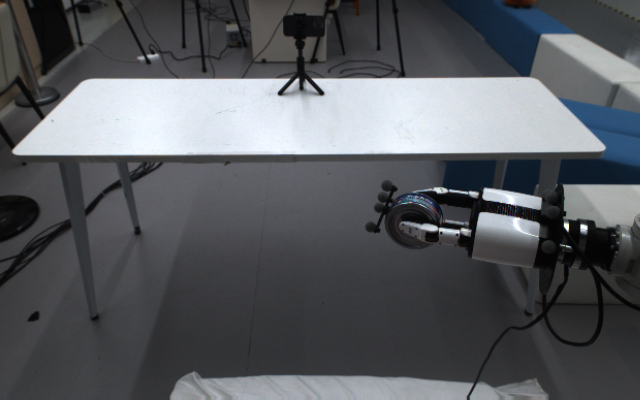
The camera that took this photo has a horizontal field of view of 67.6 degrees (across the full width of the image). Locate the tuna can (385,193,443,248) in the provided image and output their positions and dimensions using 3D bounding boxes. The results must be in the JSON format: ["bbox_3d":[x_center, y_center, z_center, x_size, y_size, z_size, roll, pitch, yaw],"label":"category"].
[{"bbox_3d":[0.147,0.032,0.745,0.085,0.085,0.034,12,29,14],"label":"tuna can"}]
